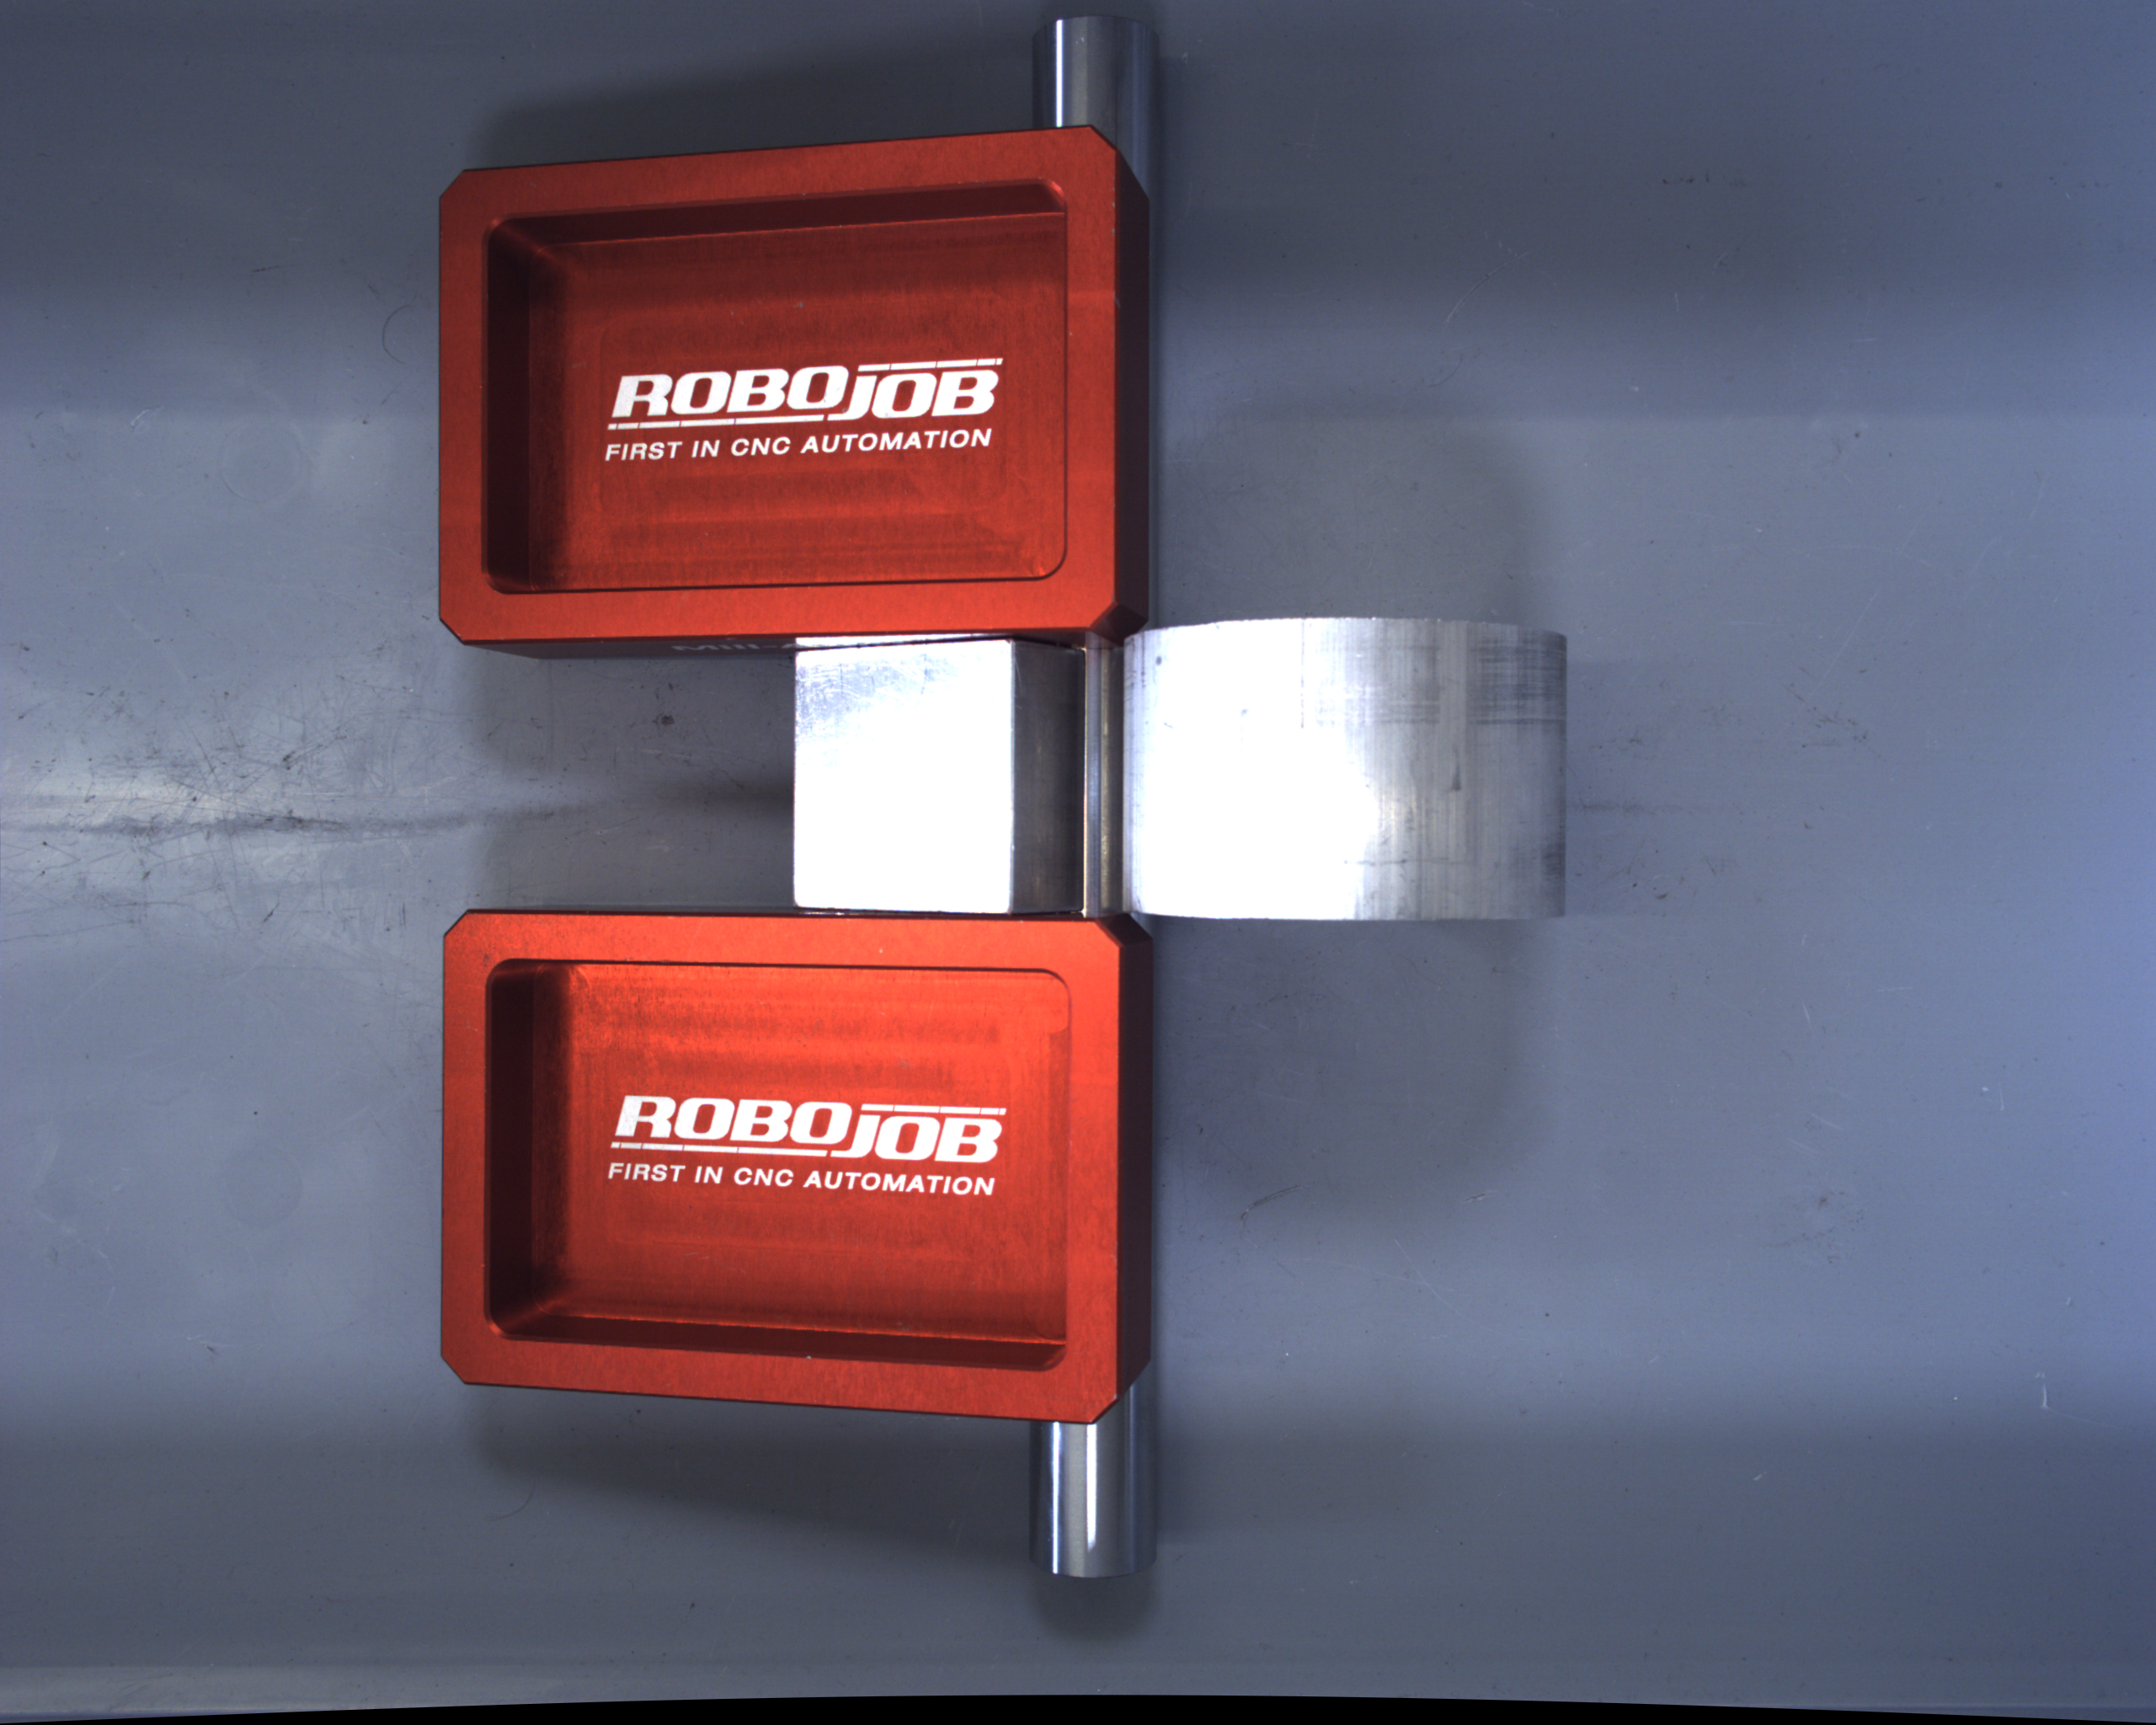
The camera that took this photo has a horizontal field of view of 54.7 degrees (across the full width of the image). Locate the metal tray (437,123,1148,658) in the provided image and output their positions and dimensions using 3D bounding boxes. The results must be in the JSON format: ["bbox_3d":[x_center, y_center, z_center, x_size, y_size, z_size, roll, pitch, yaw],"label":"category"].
[{"bbox_3d":[-0.054,-0.085,0.393,0.131,0.030,0.089,0,90,12],"label":"metal tray"}]

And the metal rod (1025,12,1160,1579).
[{"bbox_3d":[0.003,-0.013,0.409,0.025,0.025,0.298,0,90,0],"label":"metal rod"}]

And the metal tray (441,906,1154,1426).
[{"bbox_3d":[-0.053,0.054,0.393,0.131,0.030,0.089,1,90,12],"label":"metal tray"}]

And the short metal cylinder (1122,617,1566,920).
[{"bbox_3d":[0.048,-0.016,0.383,0.081,0.080,0.050,0,90,0],"label":"short metal cylinder"}]

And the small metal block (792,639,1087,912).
[{"bbox_3d":[-0.027,-0.016,0.399,0.050,0.025,0.050,1,90,31],"label":"small metal block"}]
